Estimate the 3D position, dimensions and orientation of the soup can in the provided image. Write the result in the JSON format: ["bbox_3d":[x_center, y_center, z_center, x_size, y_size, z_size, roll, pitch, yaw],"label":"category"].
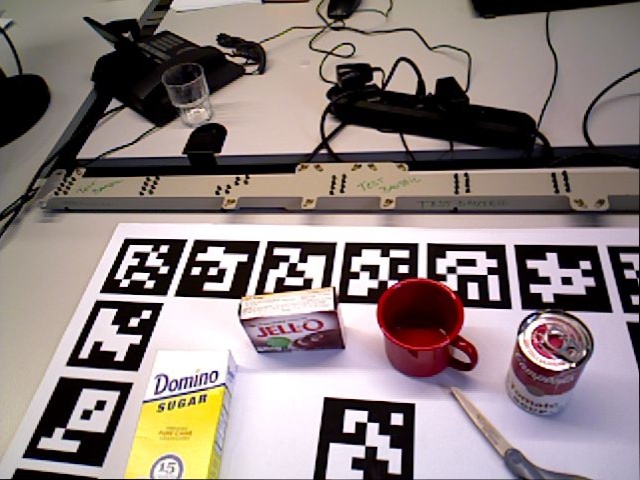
[{"bbox_3d":[0.235,0.134,0.540,0.068,0.104,0.067,-6,49,6],"label":"soup can"}]

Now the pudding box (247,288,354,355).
[{"bbox_3d":[-0.020,0.093,0.615,0.114,0.091,0.038,-5,57,5],"label":"pudding box"}]

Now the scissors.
[{"bbox_3d":[0.203,0.229,0.515,0.087,0.016,0.202,-38,55,-7],"label":"scissors"}]

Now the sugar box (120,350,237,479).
[{"bbox_3d":[-0.152,0.207,0.589,0.093,0.046,0.173,-2,53,11],"label":"sugar box"}]

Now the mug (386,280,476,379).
[{"bbox_3d":[0.127,0.101,0.590,0.092,0.083,0.116,-28,51,-9],"label":"mug"}]
